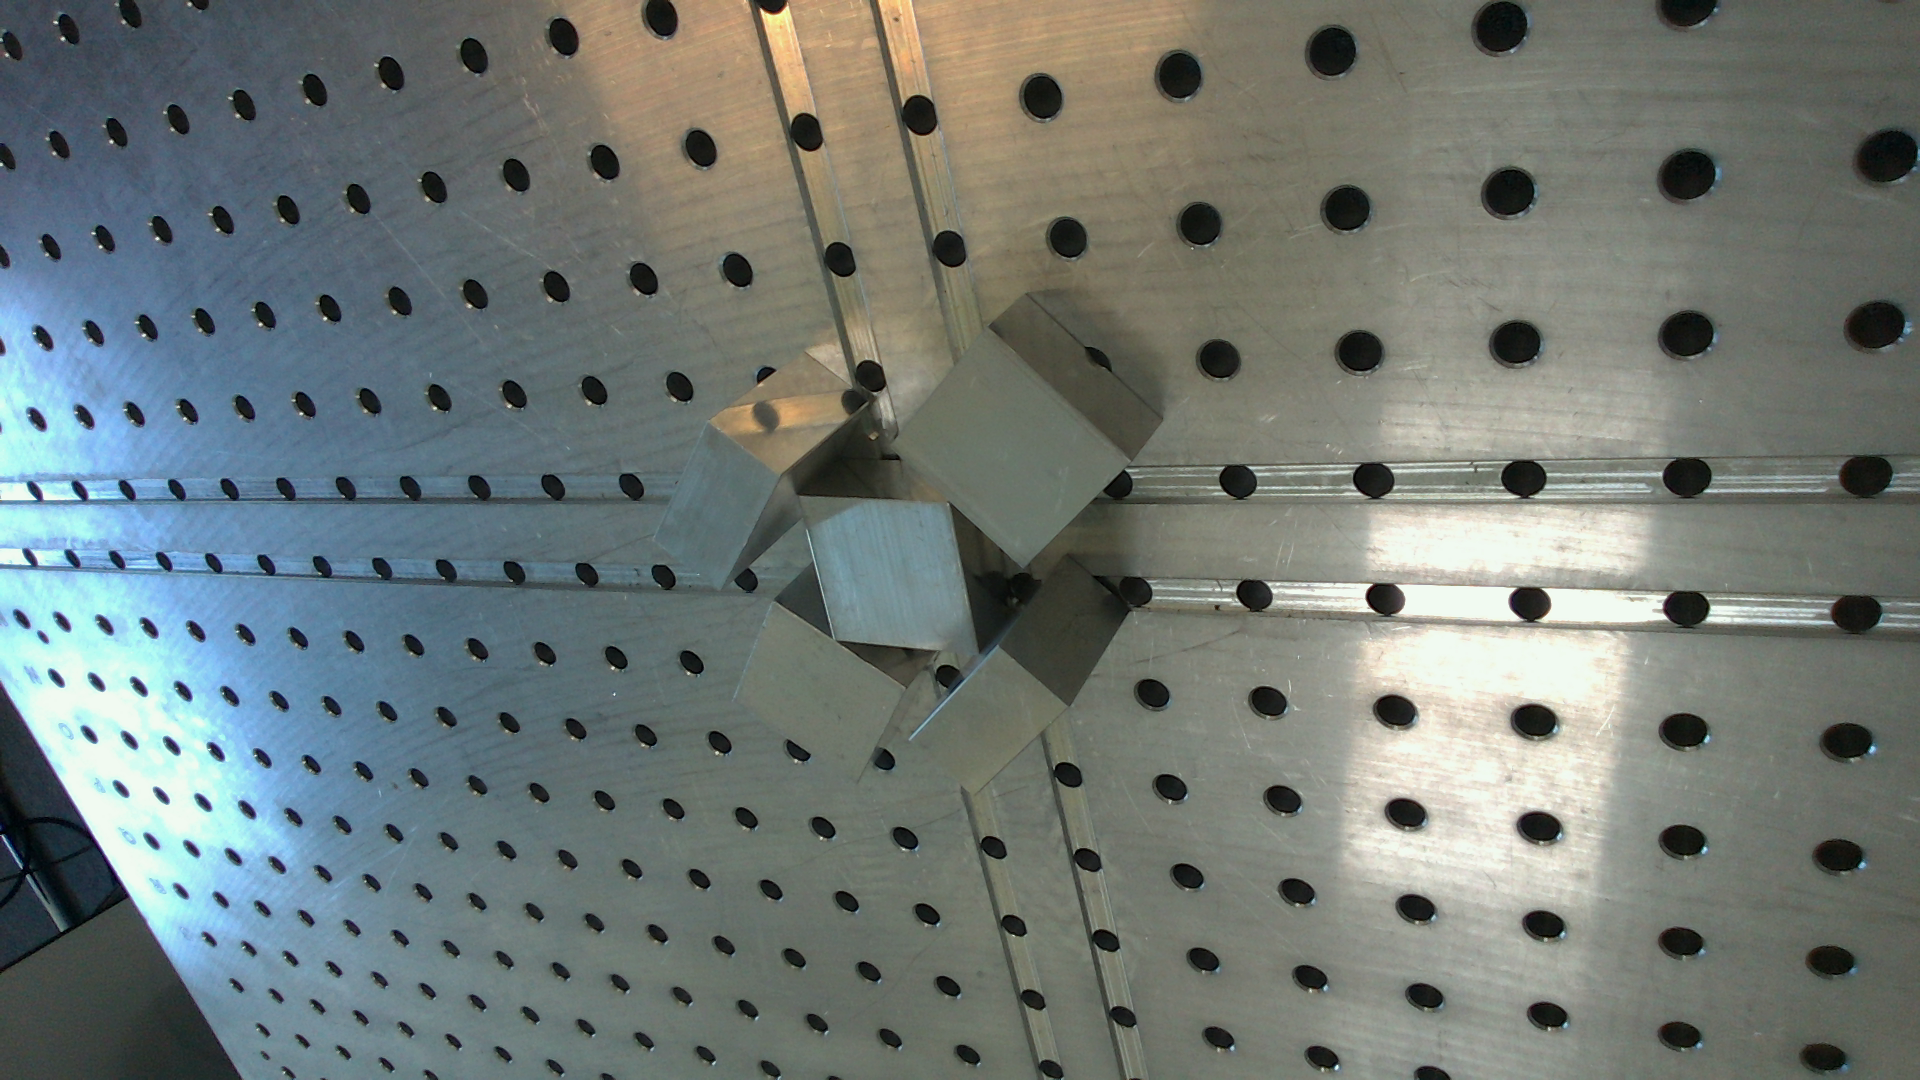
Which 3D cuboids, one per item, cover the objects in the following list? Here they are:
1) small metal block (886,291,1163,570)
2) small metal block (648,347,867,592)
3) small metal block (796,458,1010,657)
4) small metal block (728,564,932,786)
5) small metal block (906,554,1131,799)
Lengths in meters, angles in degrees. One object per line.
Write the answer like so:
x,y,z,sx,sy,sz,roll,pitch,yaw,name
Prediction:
0.017,-0.029,0.369,0.050,0.025,0.050,42,130,-1,small metal block
-0.058,-0.021,0.398,0.025,0.050,0.050,37,130,3,small metal block
-0.016,0.004,0.407,0.050,0.025,0.050,4,119,28,small metal block
-0.041,0.043,0.445,0.050,0.025,0.050,33,128,6,small metal block
0.017,0.039,0.394,0.025,0.050,0.050,41,129,1,small metal block
